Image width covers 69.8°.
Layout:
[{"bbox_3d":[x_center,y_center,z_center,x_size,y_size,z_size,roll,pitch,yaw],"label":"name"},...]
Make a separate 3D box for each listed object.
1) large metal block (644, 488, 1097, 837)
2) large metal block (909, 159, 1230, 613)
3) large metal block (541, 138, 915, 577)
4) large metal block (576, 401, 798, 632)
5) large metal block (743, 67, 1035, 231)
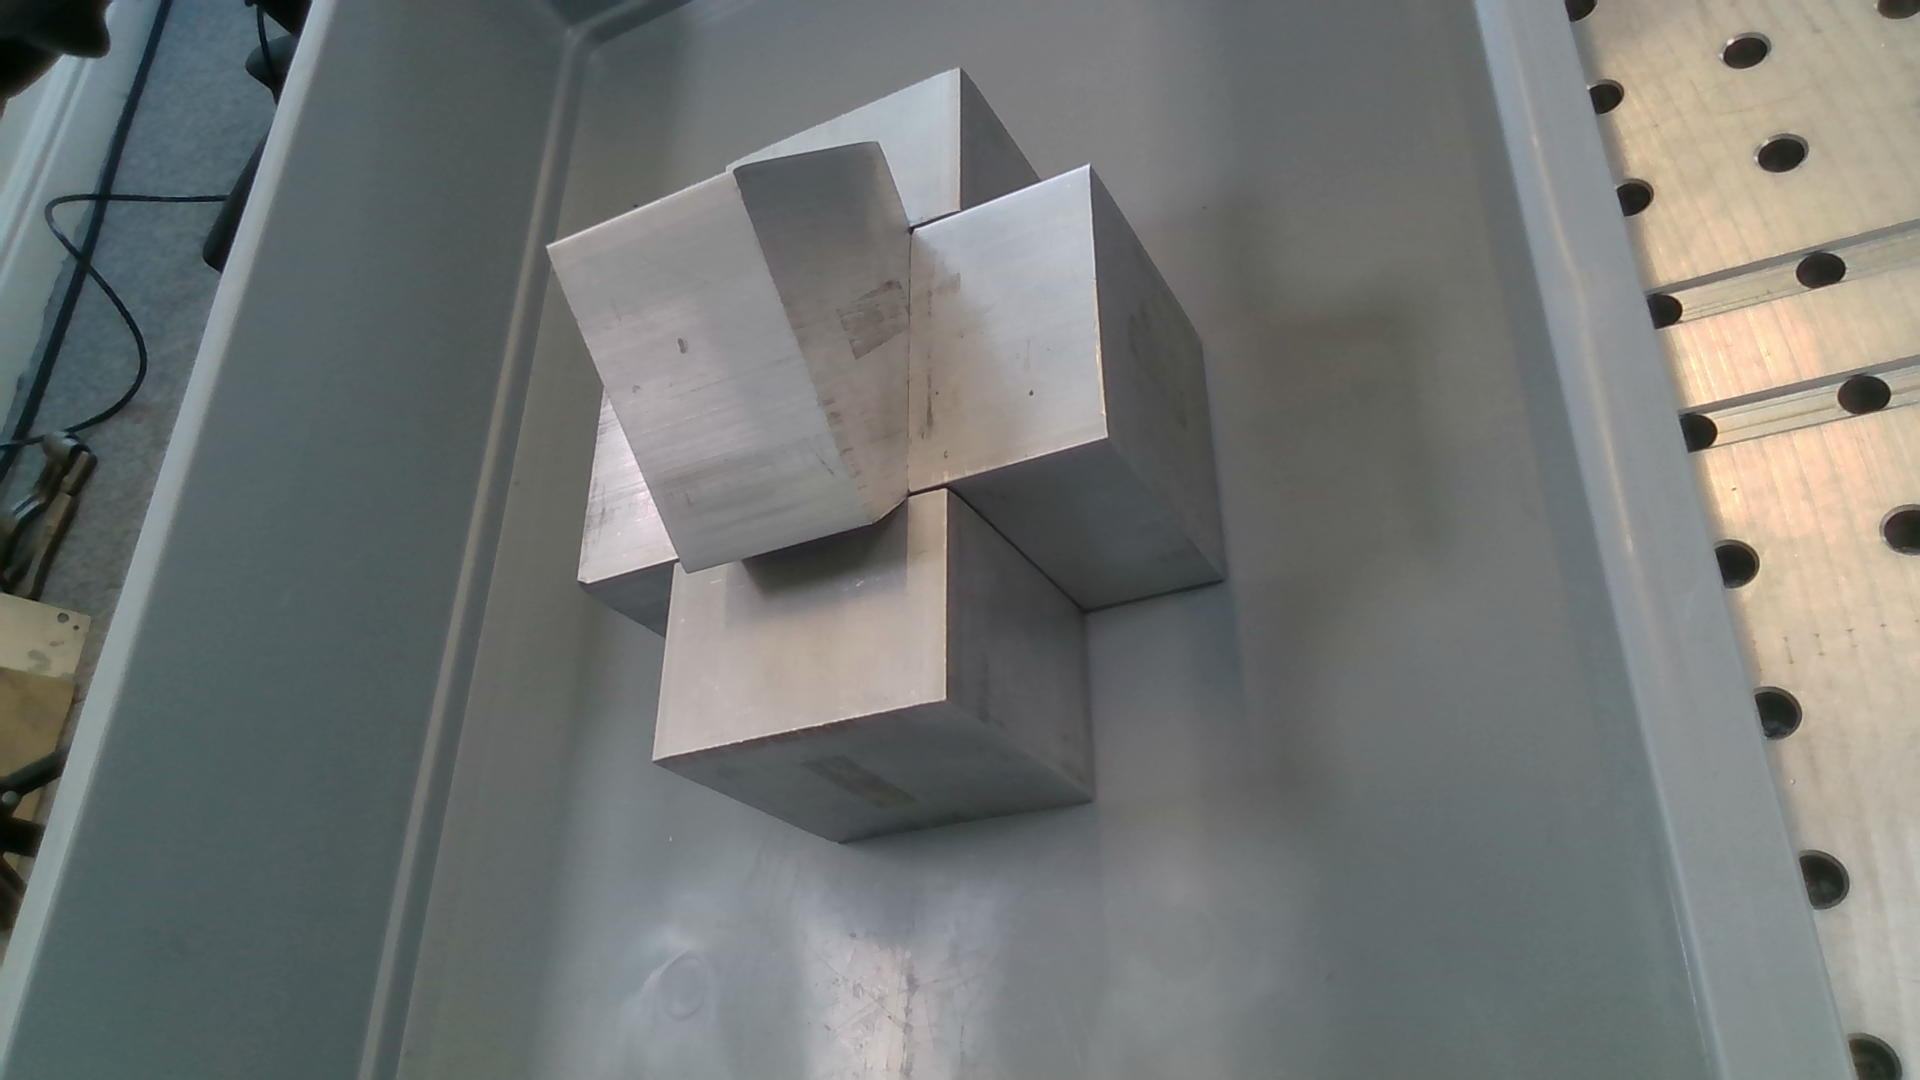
[{"bbox_3d":[-0.020,0.036,0.347,0.080,0.080,0.050,-14,59,25],"label":"large metal block"},{"bbox_3d":[0.029,-0.035,0.357,0.050,0.080,0.080,-15,59,25],"label":"large metal block"},{"bbox_3d":[-0.043,-0.047,0.335,0.050,0.080,0.080,-15,104,25],"label":"large metal block"},{"bbox_3d":[-0.060,-0.012,0.400,0.050,0.080,0.080,-15,59,25],"label":"large metal block"},{"bbox_3d":[-0.016,-0.081,0.409,0.080,0.080,0.050,-14,59,25],"label":"large metal block"}]
